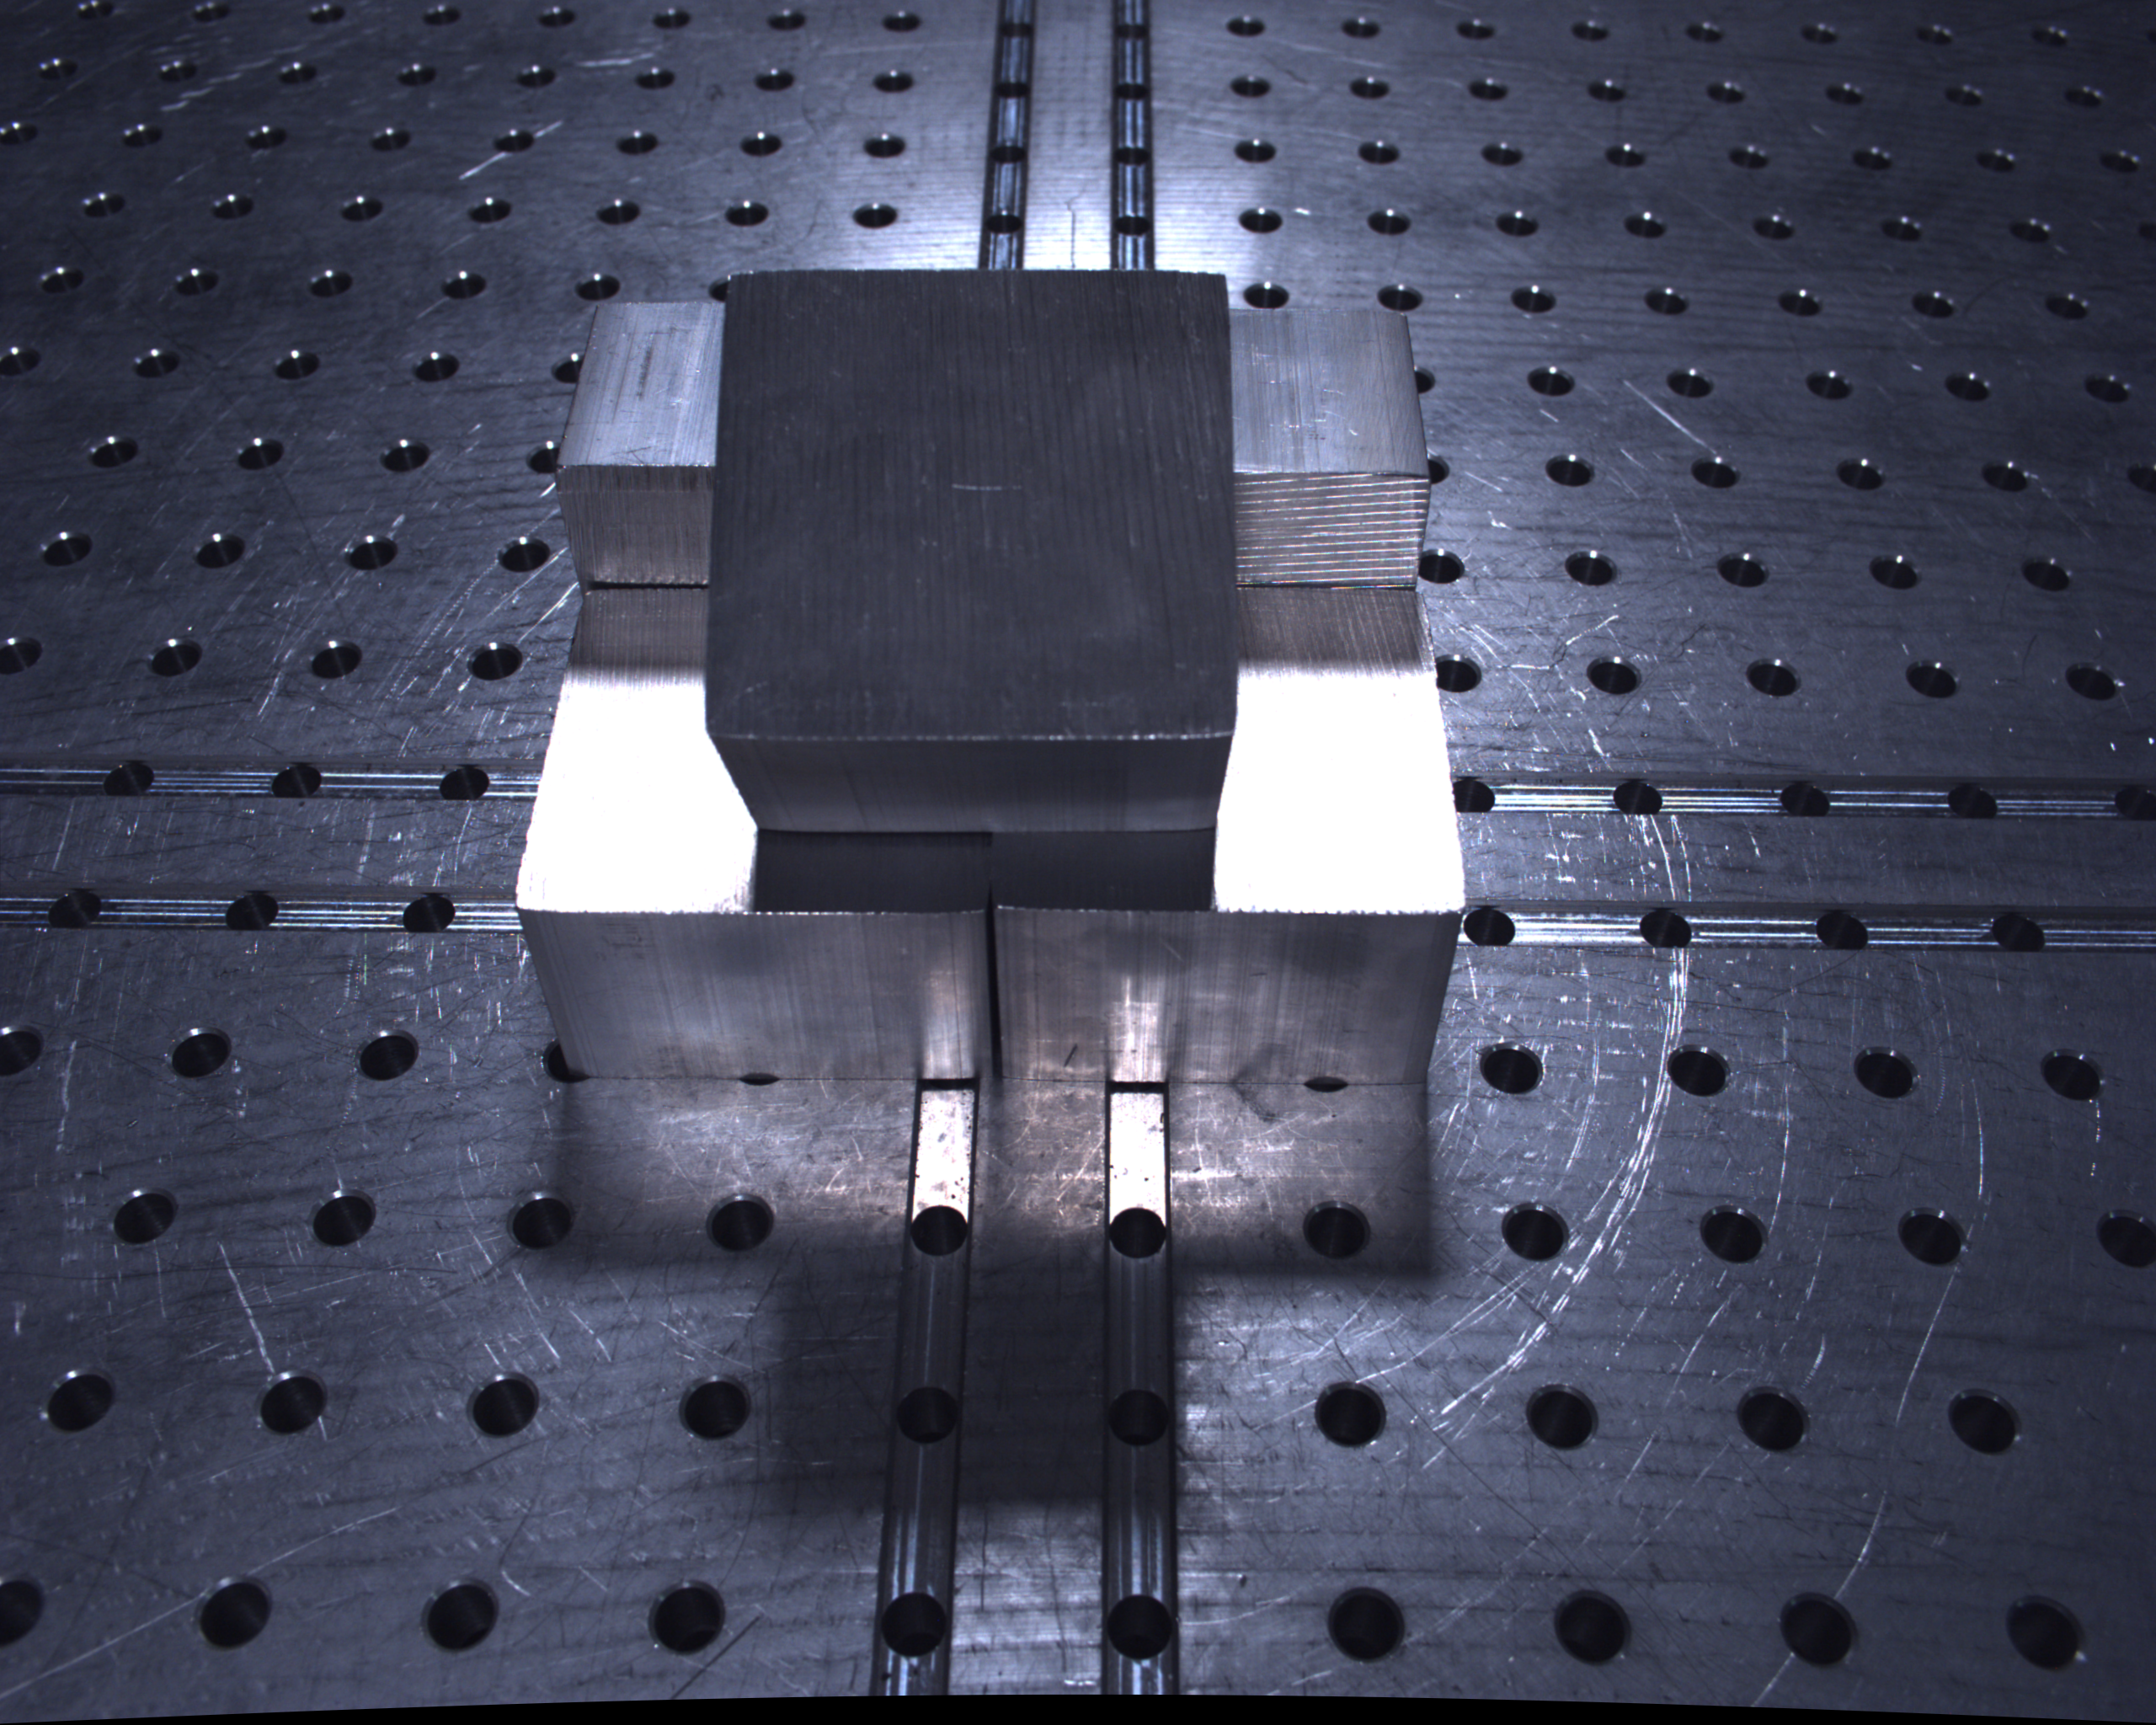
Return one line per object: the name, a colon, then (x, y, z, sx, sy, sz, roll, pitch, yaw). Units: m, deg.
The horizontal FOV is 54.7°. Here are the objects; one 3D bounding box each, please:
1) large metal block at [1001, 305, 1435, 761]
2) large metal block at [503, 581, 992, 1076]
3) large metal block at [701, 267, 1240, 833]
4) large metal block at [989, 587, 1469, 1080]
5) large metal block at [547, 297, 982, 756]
large metal block: (0.025, -0.066, 0.426, 0.081, 0.080, 0.050, 1, 50, 0)
large metal block: (-0.056, -0.007, 0.394, 0.081, 0.050, 0.080, 1, 50, 0)
large metal block: (-0.016, -0.050, 0.347, 0.081, 0.050, 0.080, 0, 74, -1)
large metal block: (0.026, -0.006, 0.394, 0.081, 0.050, 0.080, 1, 50, 0)
large metal block: (-0.056, -0.067, 0.426, 0.081, 0.080, 0.050, 1, 50, 0)
